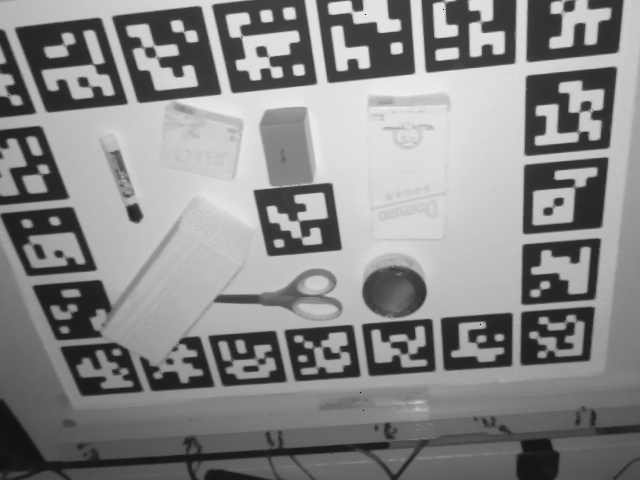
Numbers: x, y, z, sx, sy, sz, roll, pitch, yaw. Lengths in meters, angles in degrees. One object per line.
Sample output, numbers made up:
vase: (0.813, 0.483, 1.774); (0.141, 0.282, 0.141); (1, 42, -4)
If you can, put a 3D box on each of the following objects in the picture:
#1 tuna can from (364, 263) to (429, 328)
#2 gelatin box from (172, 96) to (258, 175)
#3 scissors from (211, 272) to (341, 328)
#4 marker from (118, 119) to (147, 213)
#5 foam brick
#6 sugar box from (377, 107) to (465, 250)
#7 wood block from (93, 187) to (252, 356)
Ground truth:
tuna can: (0.102, 0.074, 0.934); (0.086, 0.034, 0.085); (1, 118, 2)
gelatin box: (-0.127, -0.125, 0.841); (0.090, 0.030, 0.072); (15, 117, -6)
scissors: (-0.069, 0.078, 0.957); (0.203, 0.016, 0.087); (5, 118, -3)
marker: (-0.234, -0.090, 0.868); (0.019, 0.020, 0.120); (0, 116, 3)
foam brick: (-0.024, -0.112, 0.827); (0.053, 0.052, 0.077); (0, 118, 2)
sugar box: (0.120, -0.073, 0.852); (0.093, 0.046, 0.175); (3, 118, 2)
wood block: (-0.191, 0.042, 0.903); (0.090, 0.092, 0.204); (38, 114, -17)
